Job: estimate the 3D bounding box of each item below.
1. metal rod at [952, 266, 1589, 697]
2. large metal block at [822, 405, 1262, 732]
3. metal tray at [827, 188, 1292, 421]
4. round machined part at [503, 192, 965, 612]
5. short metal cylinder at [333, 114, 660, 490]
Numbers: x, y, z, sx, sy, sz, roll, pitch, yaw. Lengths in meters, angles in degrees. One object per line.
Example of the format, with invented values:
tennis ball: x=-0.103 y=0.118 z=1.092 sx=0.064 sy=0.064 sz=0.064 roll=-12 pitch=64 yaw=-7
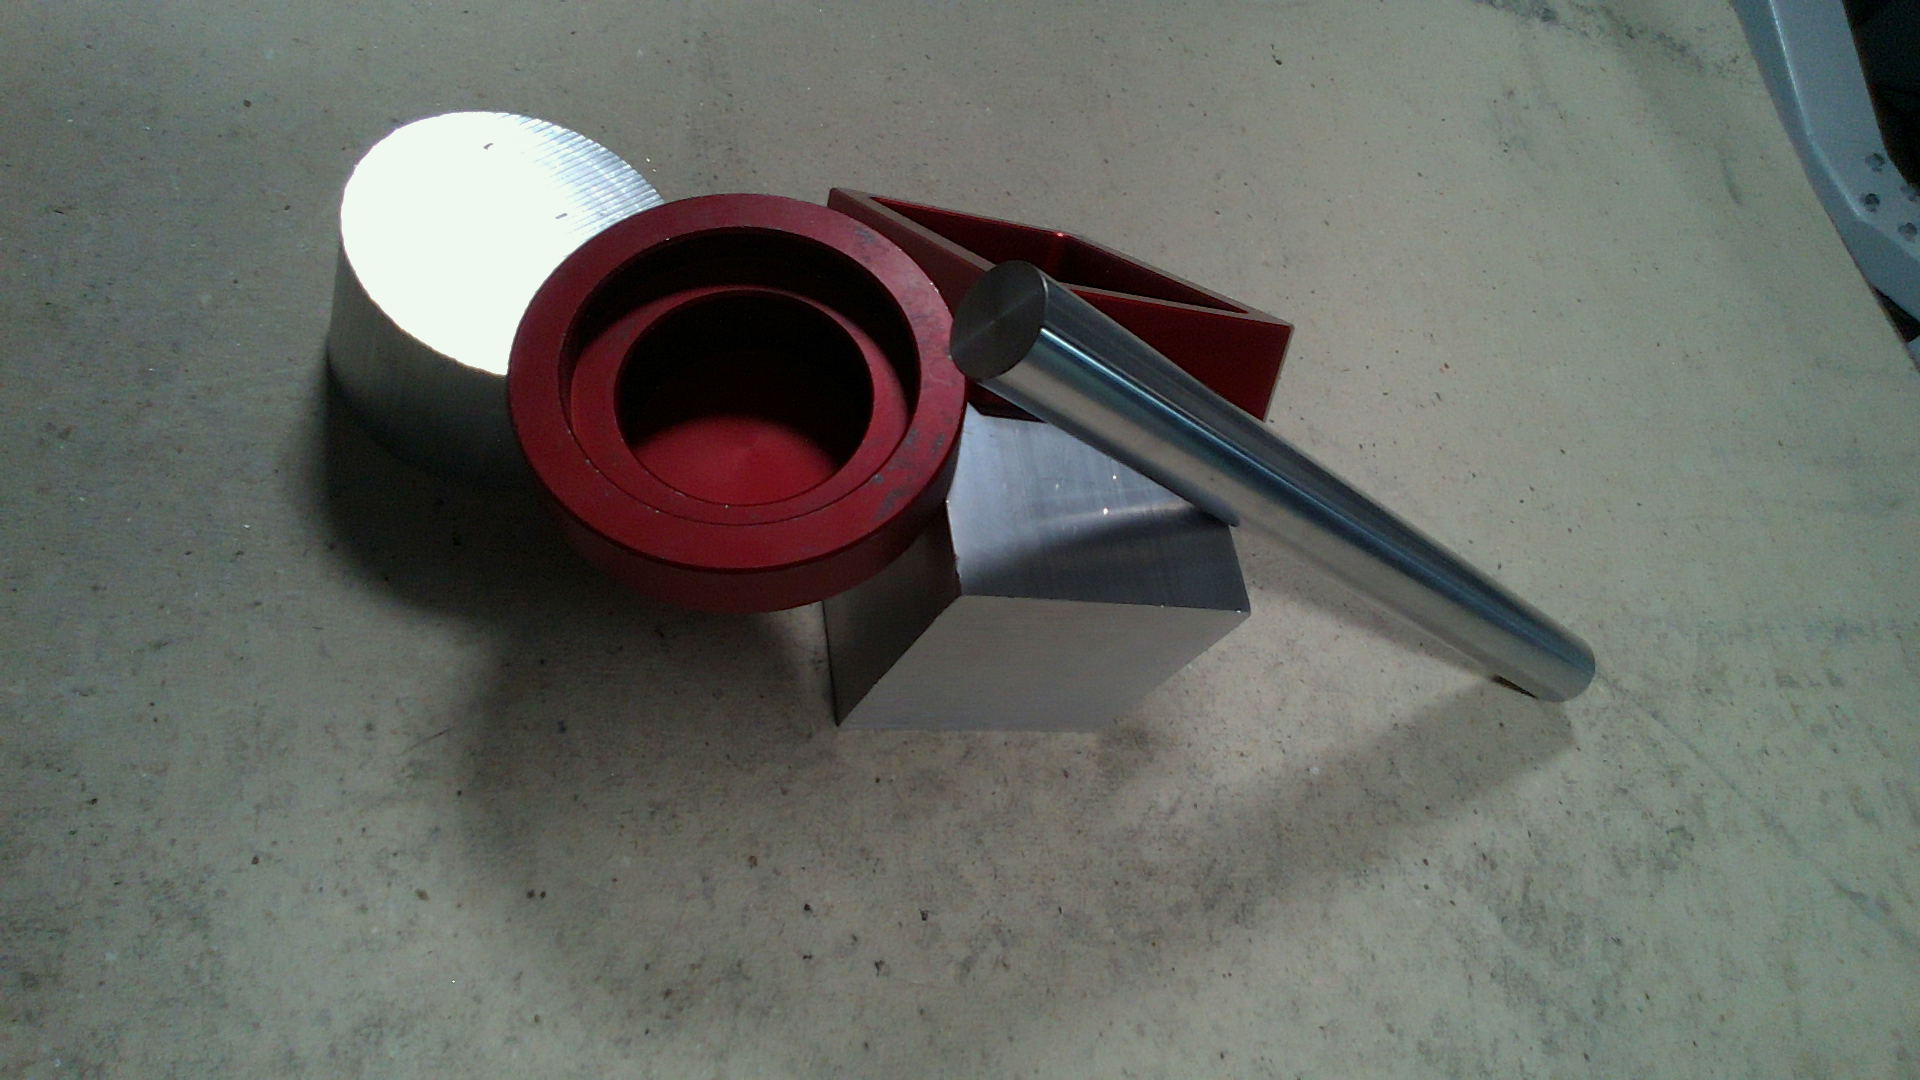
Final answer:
metal rod: x=0.106 y=0.000 z=0.371 sx=0.301 sy=0.025 sz=0.025 roll=23 pitch=49 yaw=-45
large metal block: x=0.017 y=0.011 z=0.356 sx=0.080 sy=0.080 sz=0.050 roll=4 pitch=60 yaw=-26
metal tray: x=0.020 y=-0.068 z=0.390 sx=0.090 sy=0.030 sz=0.130 roll=4 pitch=20 yaw=-26
round machined part: x=-0.049 y=-0.028 z=0.313 sx=0.098 sy=0.042 sz=0.098 roll=2 pitch=62 yaw=-4
short metal cylinder: x=-0.114 y=-0.060 z=0.349 sx=0.080 sy=0.050 sz=0.080 roll=14 pitch=56 yaw=-21
